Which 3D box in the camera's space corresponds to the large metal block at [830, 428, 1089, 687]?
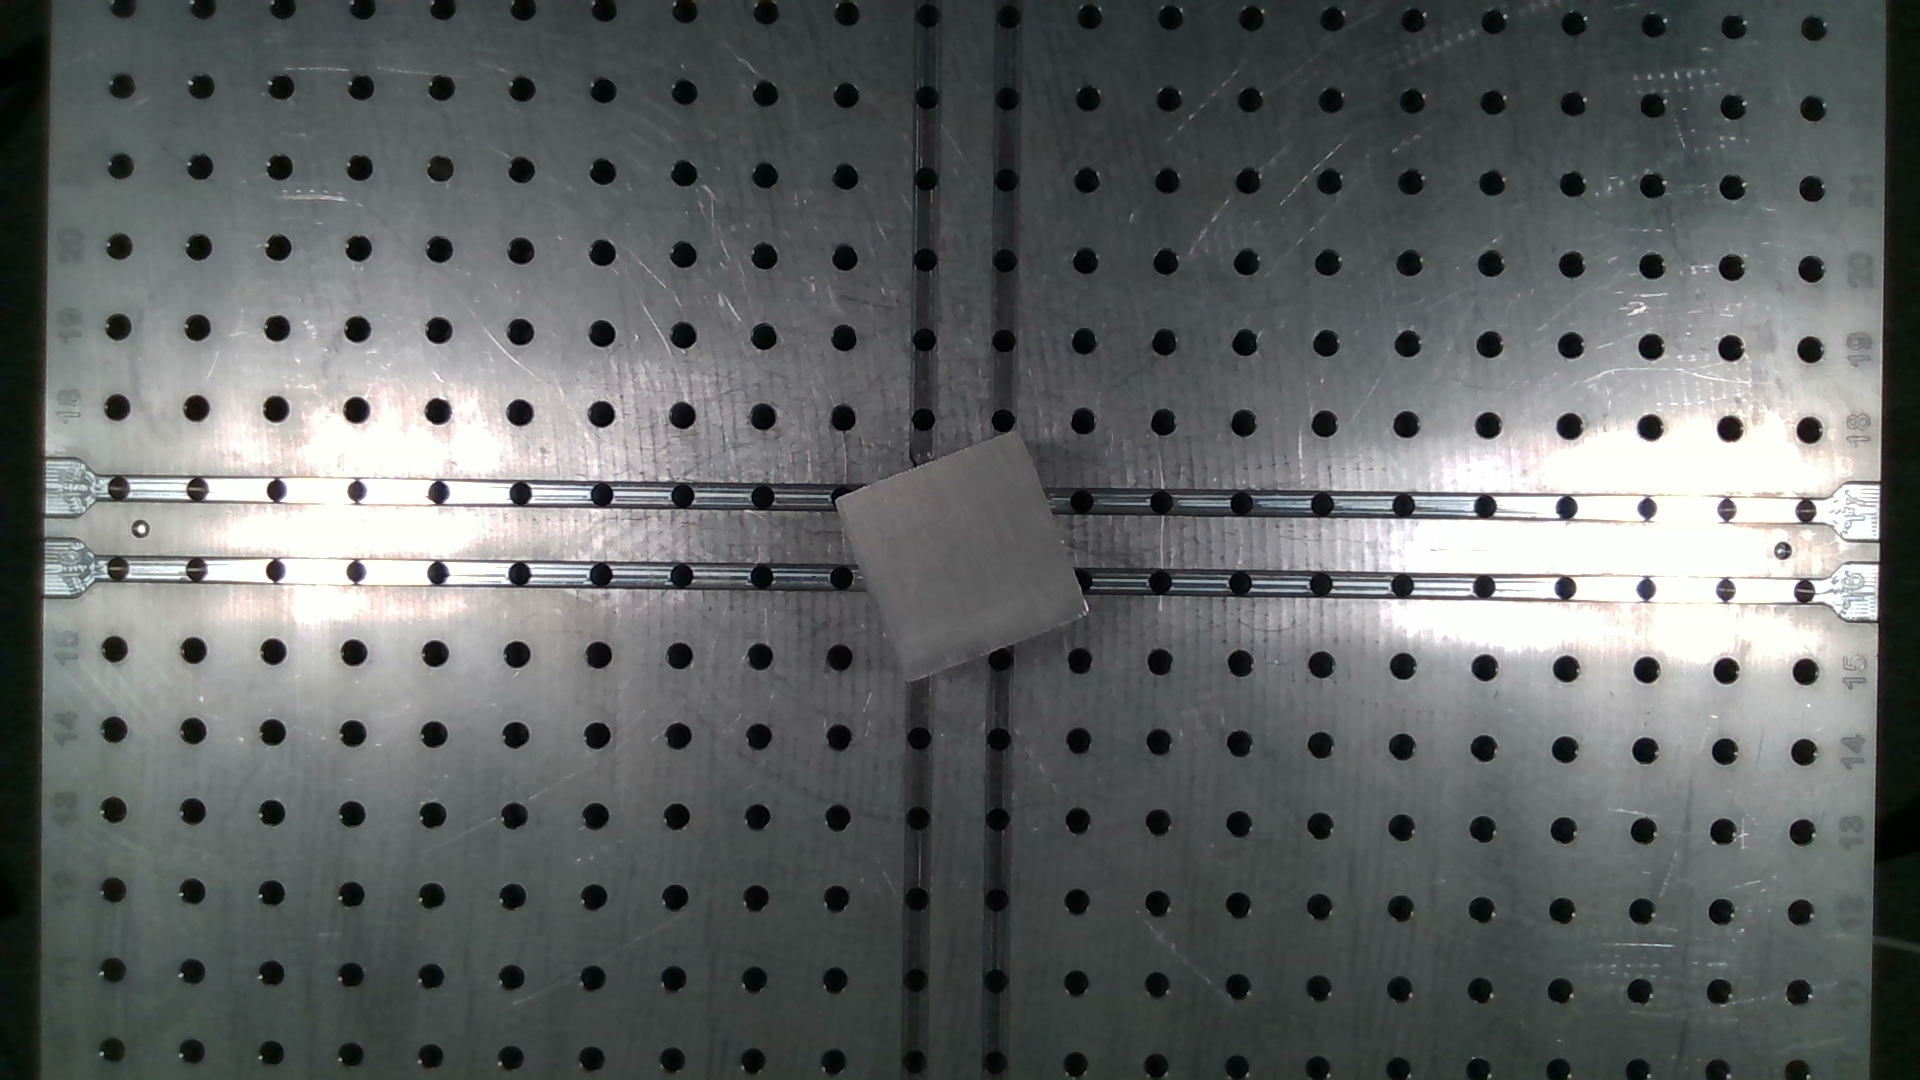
[{"bbox_3d":[0.000,0.007,0.574,0.080,0.050,0.080,-21,90,0],"label":"large metal block"}]
